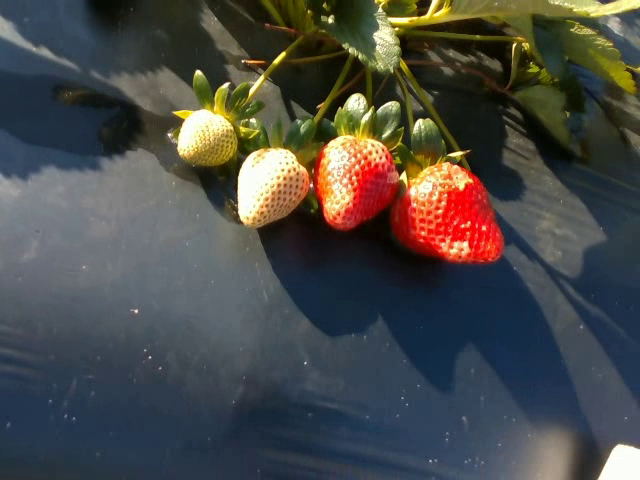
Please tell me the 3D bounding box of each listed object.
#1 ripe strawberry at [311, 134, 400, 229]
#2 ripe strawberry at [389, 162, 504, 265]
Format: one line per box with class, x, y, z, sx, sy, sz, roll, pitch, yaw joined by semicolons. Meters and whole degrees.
ripe strawberry;0.014;-0.025;0.265;0.043;0.051;0.061;-29;25;39
ripe strawberry;0.065;-0.008;0.275;0.056;0.067;0.052;-31;-38;-8
